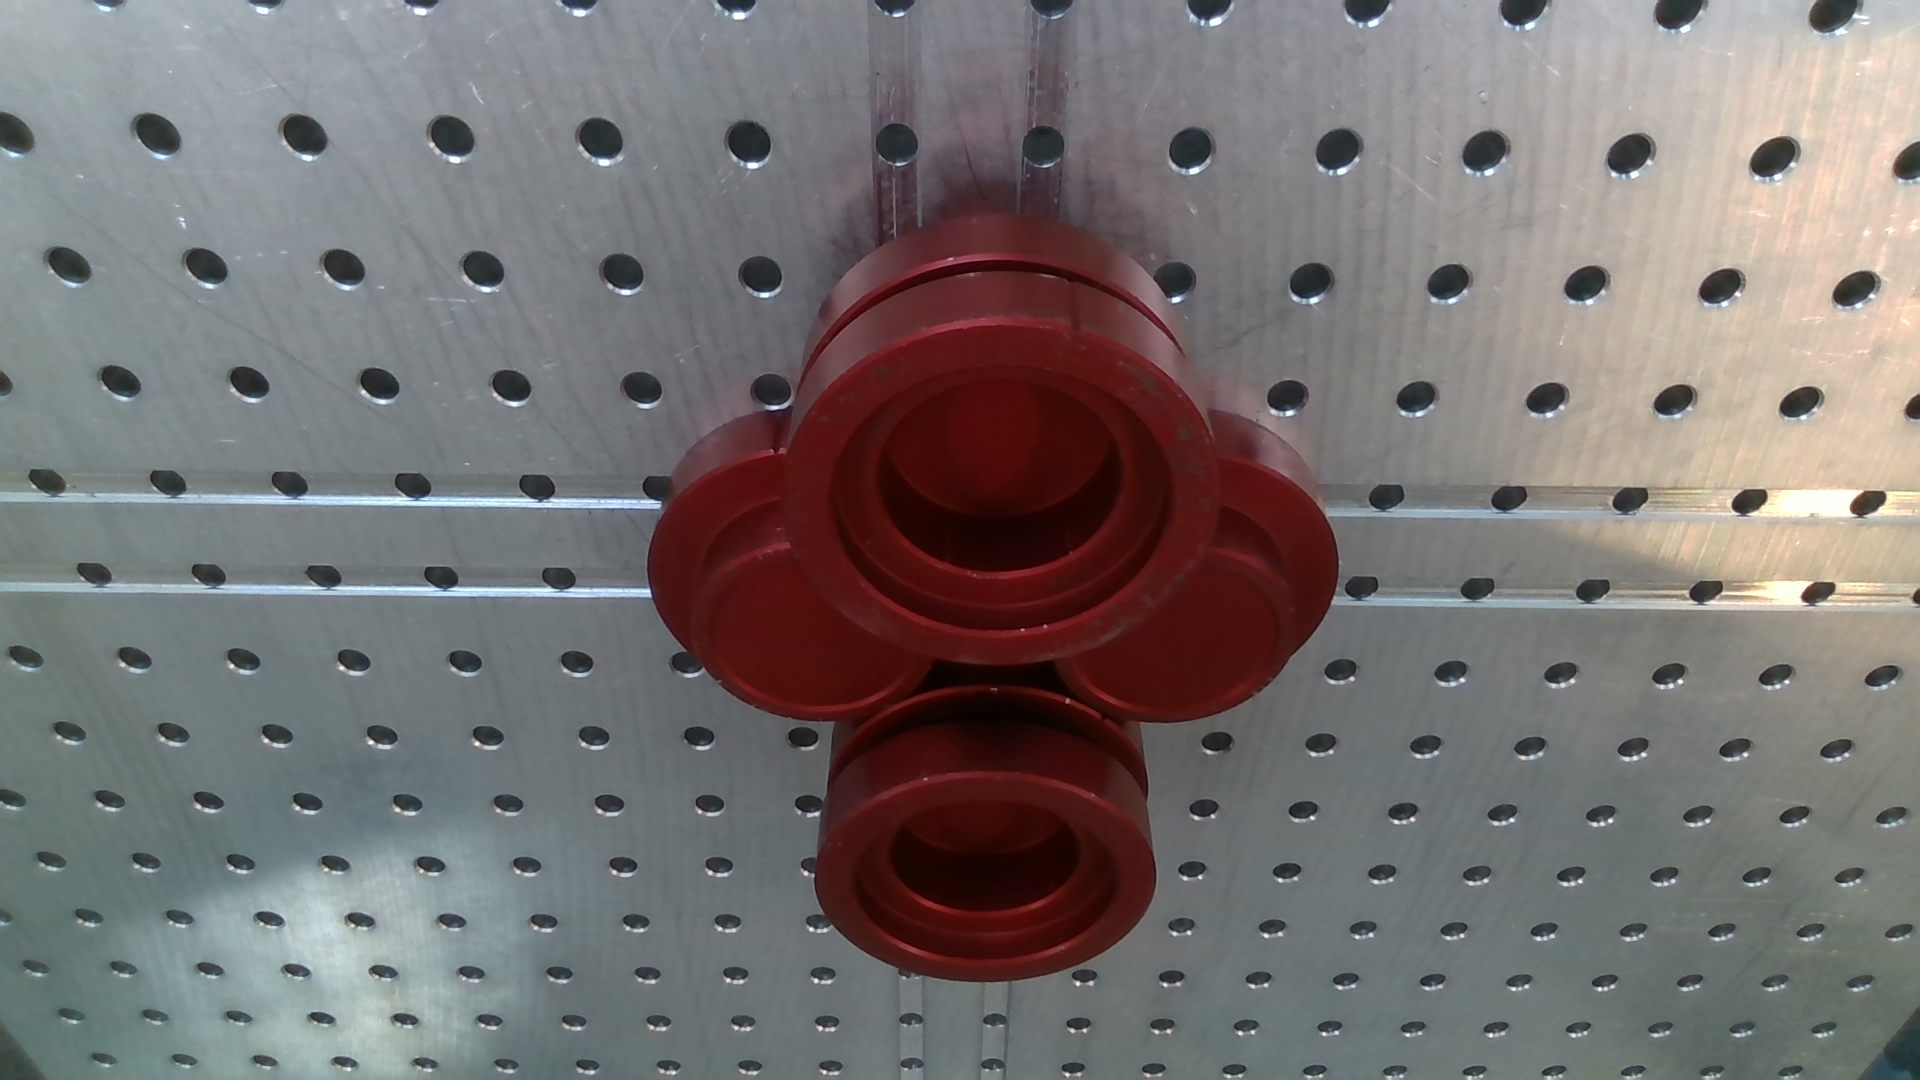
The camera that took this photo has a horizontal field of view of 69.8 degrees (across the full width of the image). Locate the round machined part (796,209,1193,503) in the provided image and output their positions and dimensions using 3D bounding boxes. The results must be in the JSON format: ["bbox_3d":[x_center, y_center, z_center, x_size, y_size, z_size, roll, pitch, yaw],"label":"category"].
[{"bbox_3d":[0.009,-0.039,0.347,0.098,0.042,0.098,0,130,0],"label":"round machined part"}]

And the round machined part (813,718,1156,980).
[{"bbox_3d":[0.007,0.086,0.410,0.098,0.042,0.098,0,130,0],"label":"round machined part"}]

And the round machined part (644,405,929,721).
[{"bbox_3d":[-0.040,0.013,0.390,0.098,0.042,0.098,0,130,0],"label":"round machined part"}]

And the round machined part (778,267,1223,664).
[{"bbox_3d":[0.009,-0.020,0.320,0.098,0.042,0.098,0,130,0],"label":"round machined part"}]

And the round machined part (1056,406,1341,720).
[{"bbox_3d":[0.059,0.013,0.391,0.098,0.042,0.098,0,130,0],"label":"round machined part"}]

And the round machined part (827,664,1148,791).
[{"bbox_3d":[0.008,0.065,0.434,0.098,0.042,0.098,0,130,0],"label":"round machined part"}]
